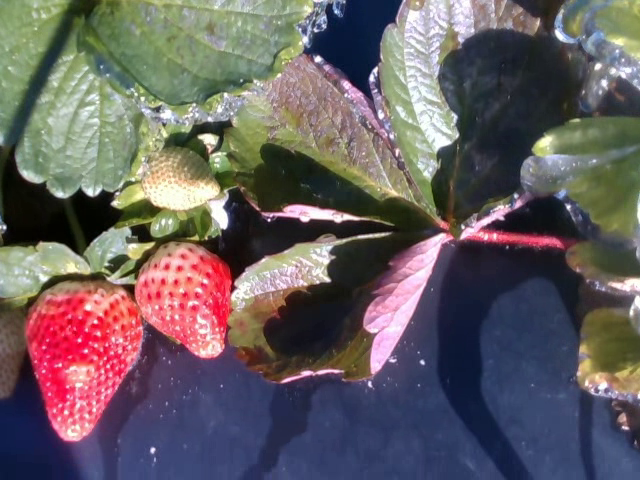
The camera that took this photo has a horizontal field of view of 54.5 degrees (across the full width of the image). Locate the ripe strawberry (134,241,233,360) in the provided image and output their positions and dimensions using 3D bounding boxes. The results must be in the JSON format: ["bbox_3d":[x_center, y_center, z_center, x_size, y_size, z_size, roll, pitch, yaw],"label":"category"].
[{"bbox_3d":[-0.039,0.020,0.188,0.036,0.041,0.030,-46,-11,31],"label":"ripe strawberry"}]

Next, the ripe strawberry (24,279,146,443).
[{"bbox_3d":[-0.073,0.041,0.191,0.036,0.052,0.039,-18,-28,29],"label":"ripe strawberry"}]
